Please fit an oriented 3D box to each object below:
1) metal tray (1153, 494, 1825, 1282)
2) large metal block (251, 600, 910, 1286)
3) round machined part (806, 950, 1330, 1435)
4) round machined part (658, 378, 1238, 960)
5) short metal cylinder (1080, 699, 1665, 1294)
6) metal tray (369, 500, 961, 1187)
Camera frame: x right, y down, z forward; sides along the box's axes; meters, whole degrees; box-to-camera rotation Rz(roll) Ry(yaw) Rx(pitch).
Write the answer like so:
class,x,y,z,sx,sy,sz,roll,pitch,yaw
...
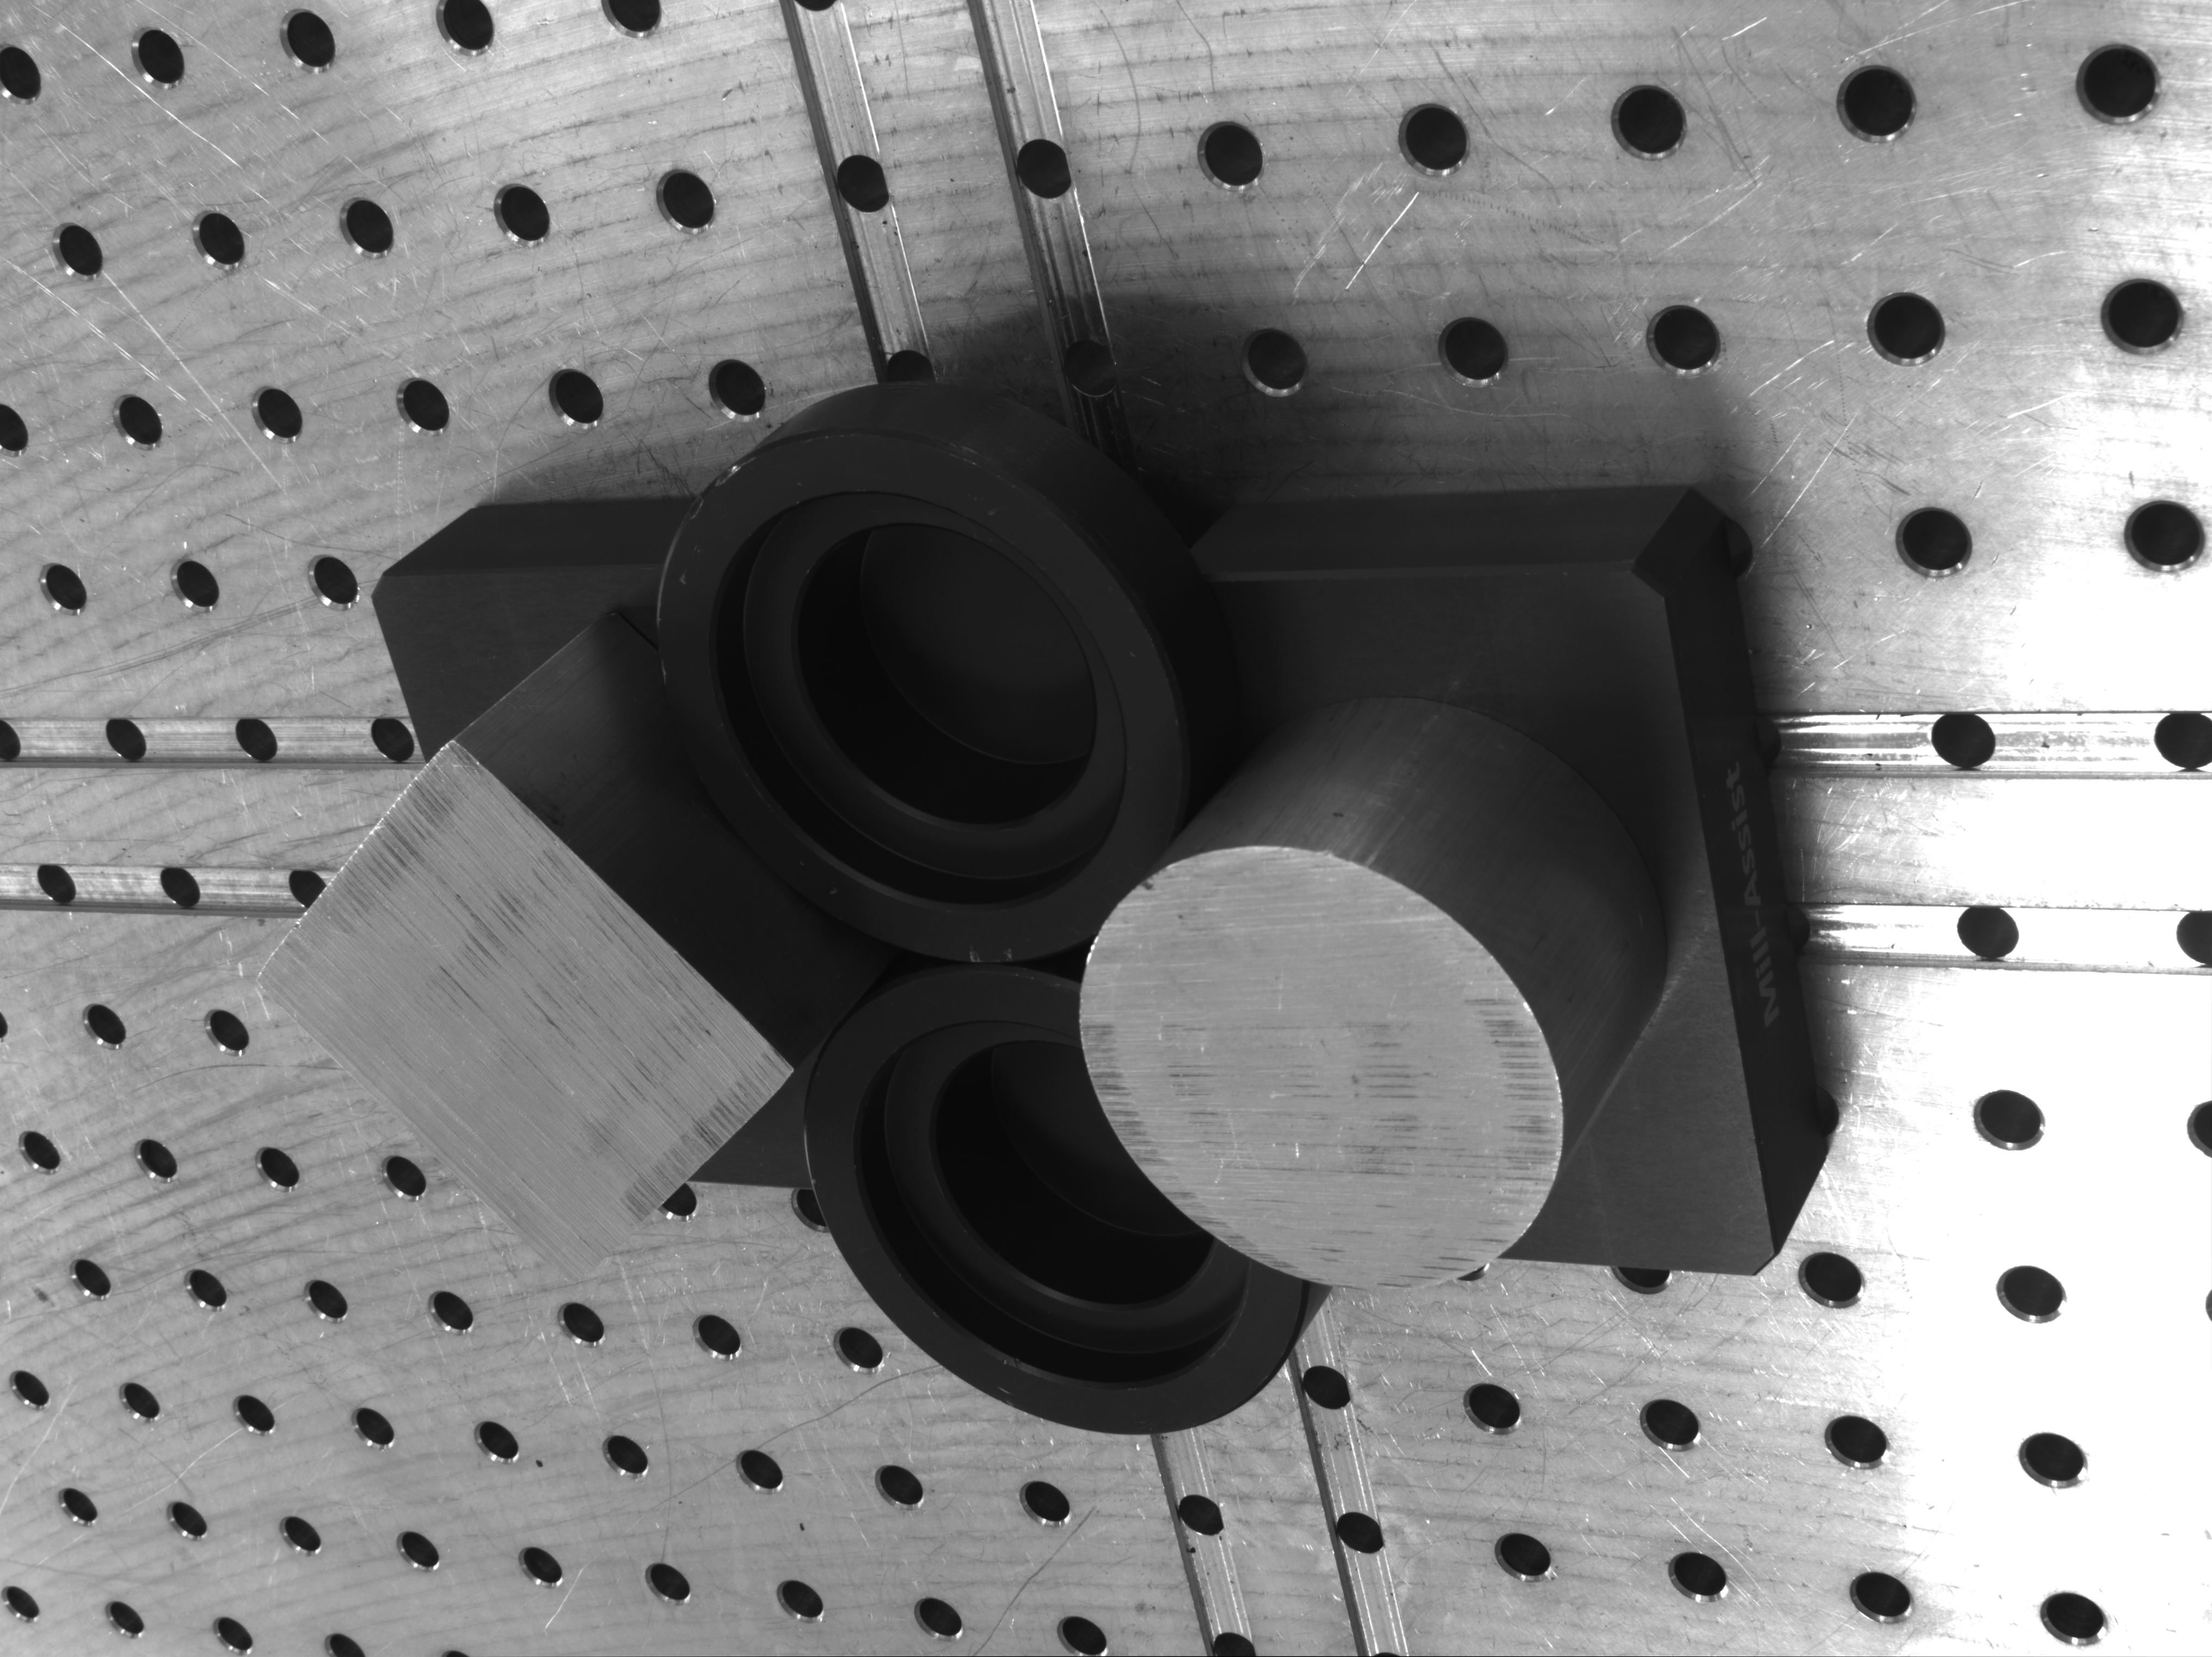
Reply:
class,x,y,z,sx,sy,sz,roll,pitch,yaw
metal tray,0.064,0.011,0.612,0.090,0.030,0.130,1,119,28
large metal block,-0.091,0.021,0.653,0.080,0.050,0.080,45,129,-3
round machined part,-0.001,0.057,0.659,0.098,0.042,0.098,13,124,21
round machined part,-0.022,-0.030,0.617,0.098,0.042,0.098,13,124,21
short metal cylinder,0.043,0.026,0.583,0.080,0.050,0.080,13,124,21
metal tray,-0.076,0.004,0.686,0.090,0.030,0.130,0,118,27
